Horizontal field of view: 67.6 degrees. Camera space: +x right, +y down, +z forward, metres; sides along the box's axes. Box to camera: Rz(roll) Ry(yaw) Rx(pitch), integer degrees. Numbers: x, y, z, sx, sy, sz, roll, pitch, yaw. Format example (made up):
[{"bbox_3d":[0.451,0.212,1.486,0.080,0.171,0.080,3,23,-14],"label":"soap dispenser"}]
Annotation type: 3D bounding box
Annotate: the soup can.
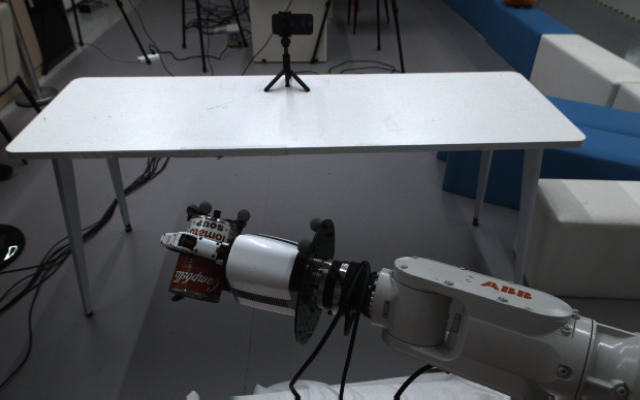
[{"bbox_3d":[-0.153,0.079,0.640,0.067,0.067,0.101,9,71,9],"label":"soup can"}]
